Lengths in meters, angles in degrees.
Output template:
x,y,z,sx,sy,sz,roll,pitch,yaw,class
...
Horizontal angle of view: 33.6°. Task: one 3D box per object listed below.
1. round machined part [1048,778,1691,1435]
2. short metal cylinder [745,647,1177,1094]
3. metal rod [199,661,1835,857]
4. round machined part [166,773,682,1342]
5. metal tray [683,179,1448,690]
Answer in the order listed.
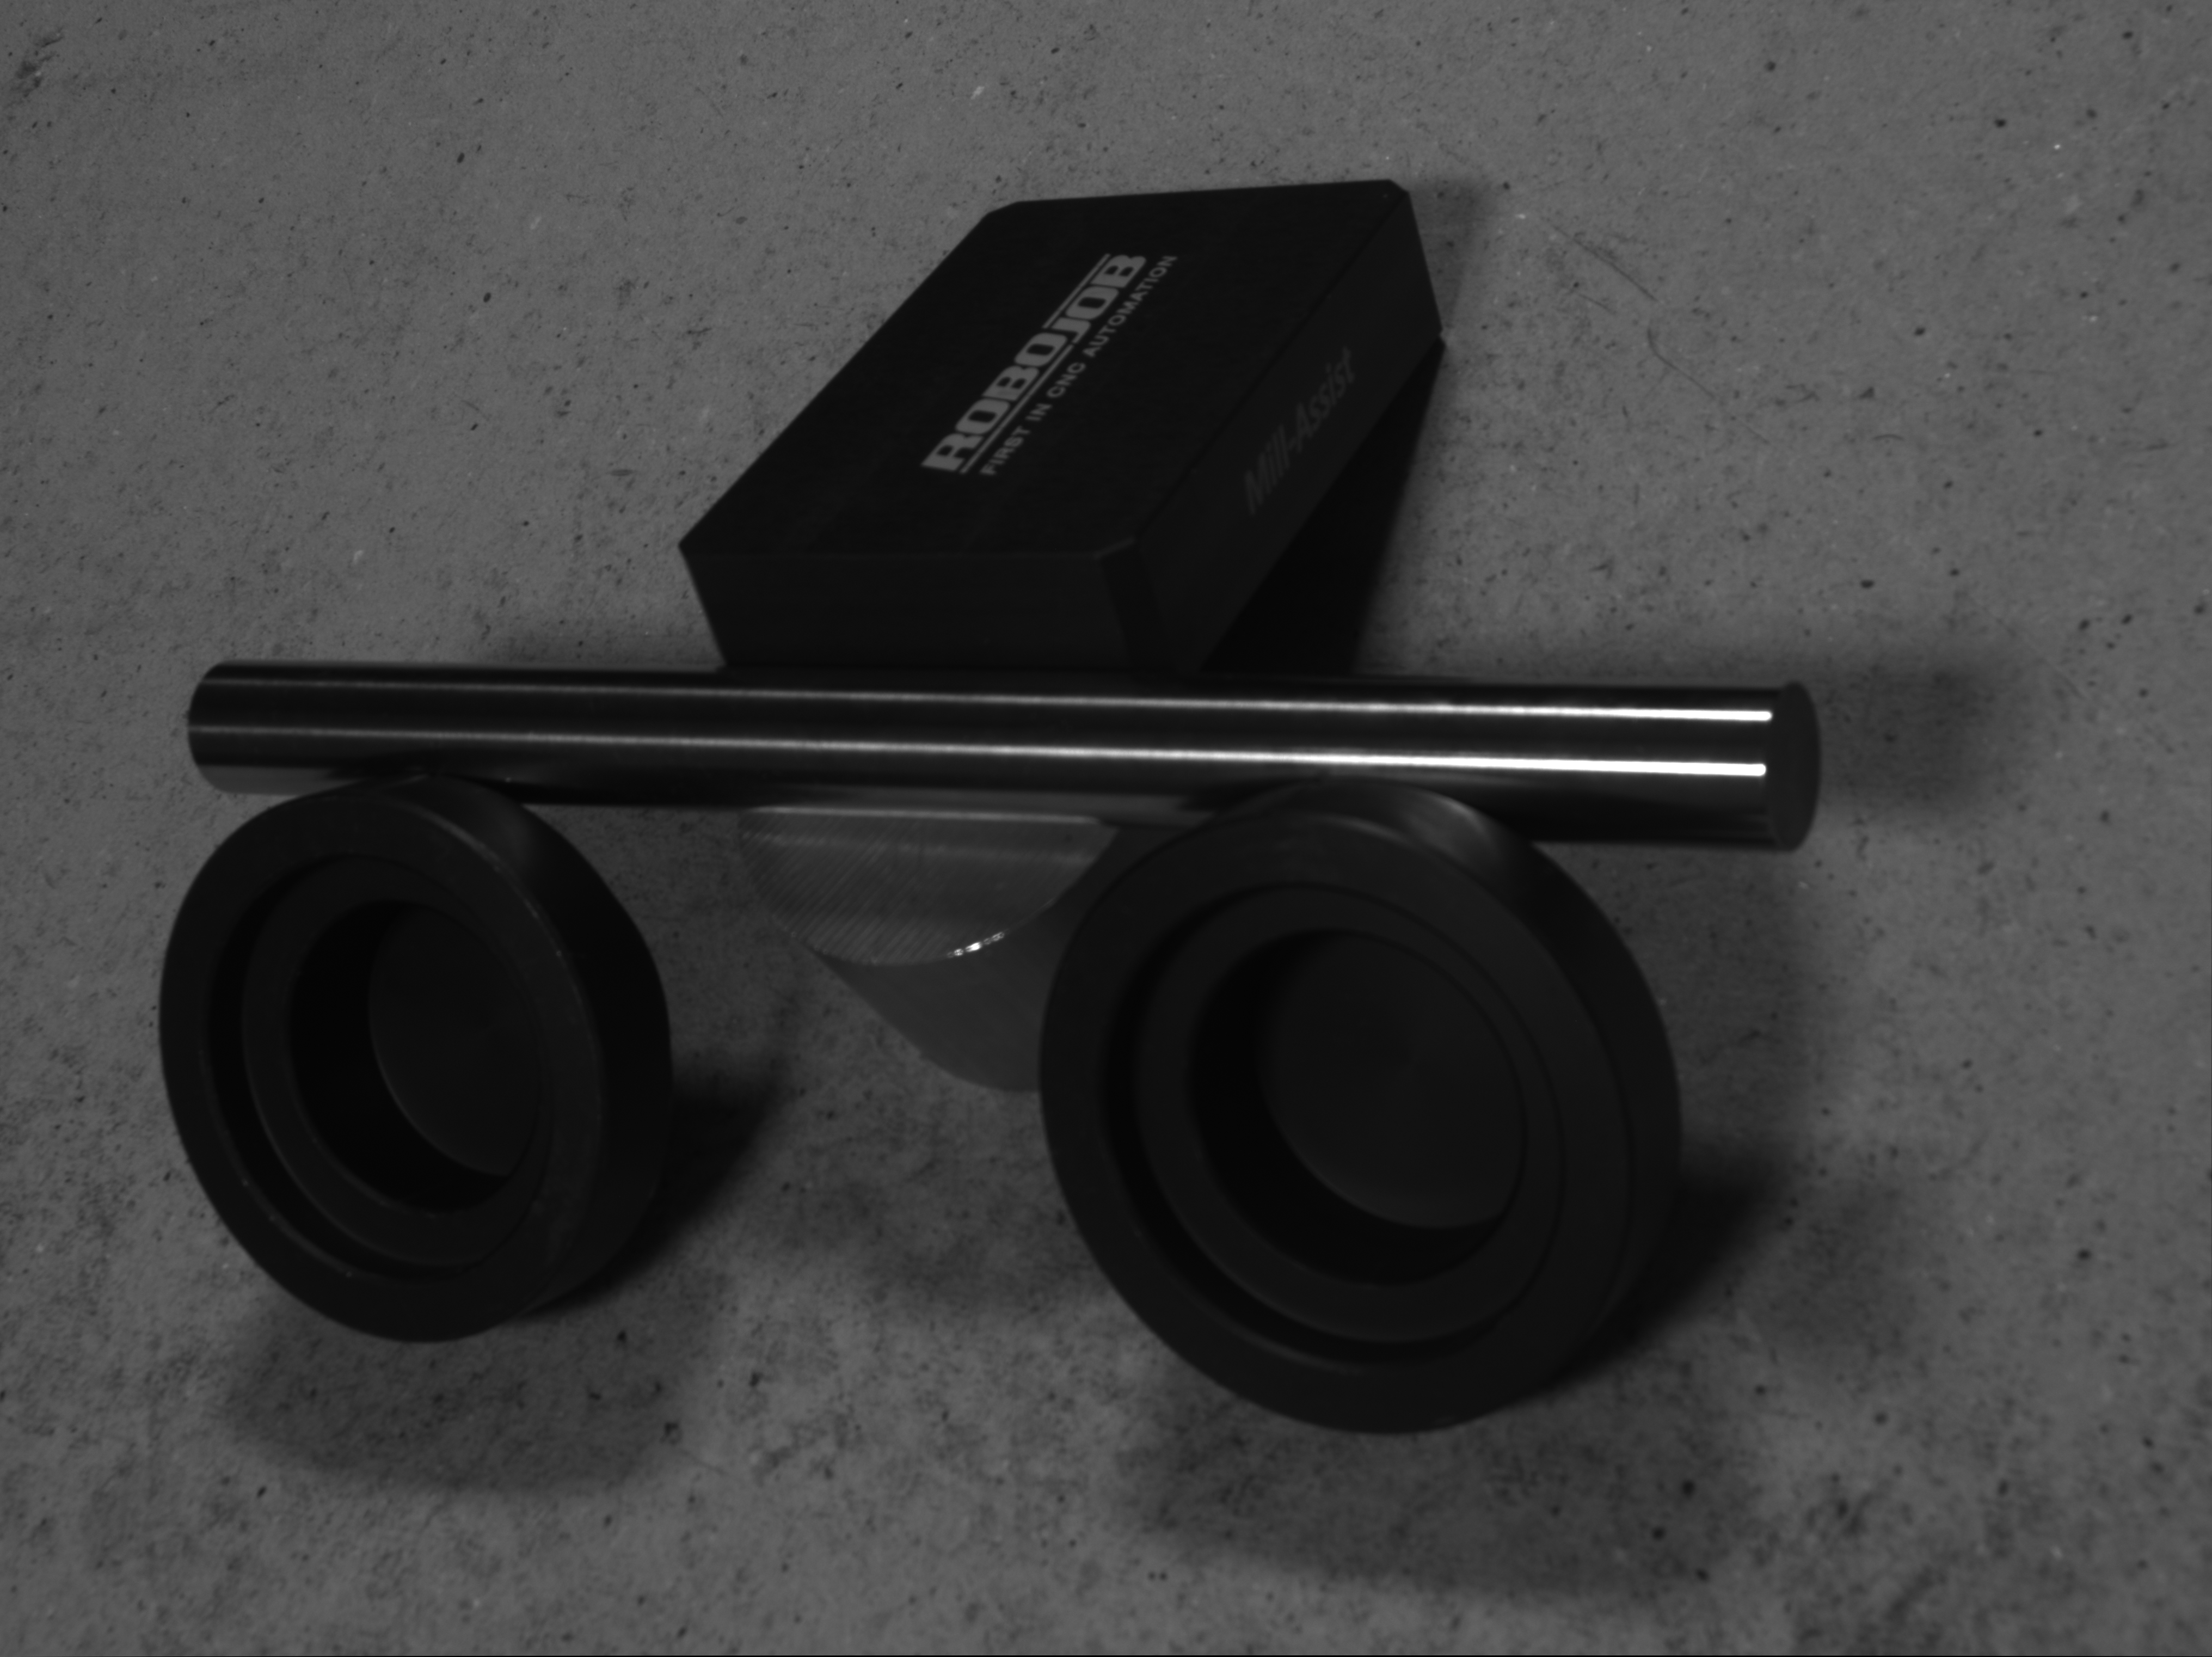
x,y,z,sx,sy,sz,roll,pitch,yaw,class
0.044,0.040,0.563,0.098,0.042,0.098,8,108,27,round machined part
-0.015,-0.001,0.638,0.080,0.050,0.080,-13,56,21,short metal cylinder
-0.029,-0.013,0.604,0.299,0.025,0.025,2,63,29,metal rod
-0.116,0.038,0.652,0.098,0.042,0.098,6,102,27,round machined part
-0.004,-0.071,0.652,0.090,0.030,0.130,2,36,29,metal tray
